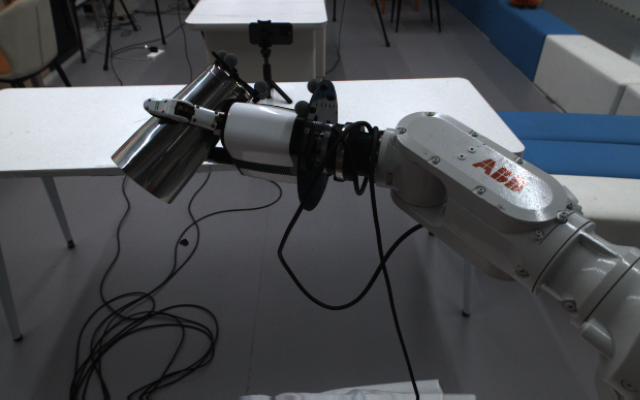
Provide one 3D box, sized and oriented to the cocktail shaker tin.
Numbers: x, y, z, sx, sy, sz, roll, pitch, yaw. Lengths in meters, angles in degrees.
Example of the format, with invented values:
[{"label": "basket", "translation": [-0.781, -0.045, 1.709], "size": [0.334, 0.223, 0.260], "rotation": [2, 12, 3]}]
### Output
[{"label": "cocktail shaker tin", "translation": [-0.169, -0.092, 0.618], "size": [0.170, 0.093, 0.093], "rotation": [-48, 49, -3]}]
